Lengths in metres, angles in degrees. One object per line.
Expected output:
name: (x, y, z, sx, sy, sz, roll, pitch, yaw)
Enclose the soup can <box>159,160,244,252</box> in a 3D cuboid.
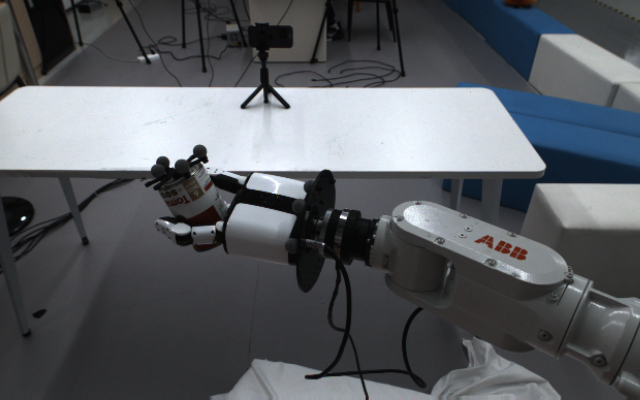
soup can: (-0.161, 0.010, 0.646, 0.067, 0.101, 0.067, -22, 24, 10)
